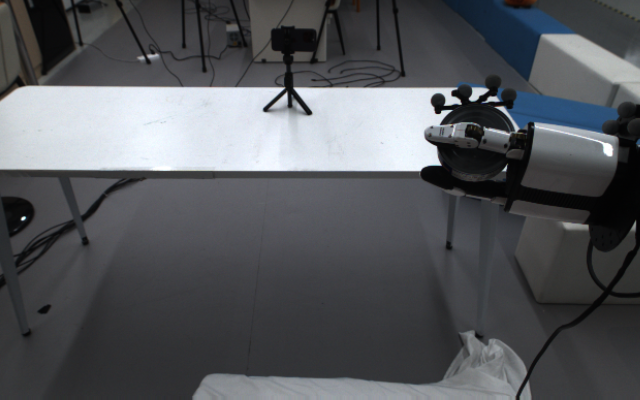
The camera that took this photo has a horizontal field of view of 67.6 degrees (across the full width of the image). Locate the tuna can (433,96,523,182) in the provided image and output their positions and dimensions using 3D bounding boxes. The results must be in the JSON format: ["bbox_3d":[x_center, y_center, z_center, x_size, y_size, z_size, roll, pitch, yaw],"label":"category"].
[{"bbox_3d":[0.179,-0.067,0.560,0.085,0.034,0.085,-5,73,15],"label":"tuna can"}]
